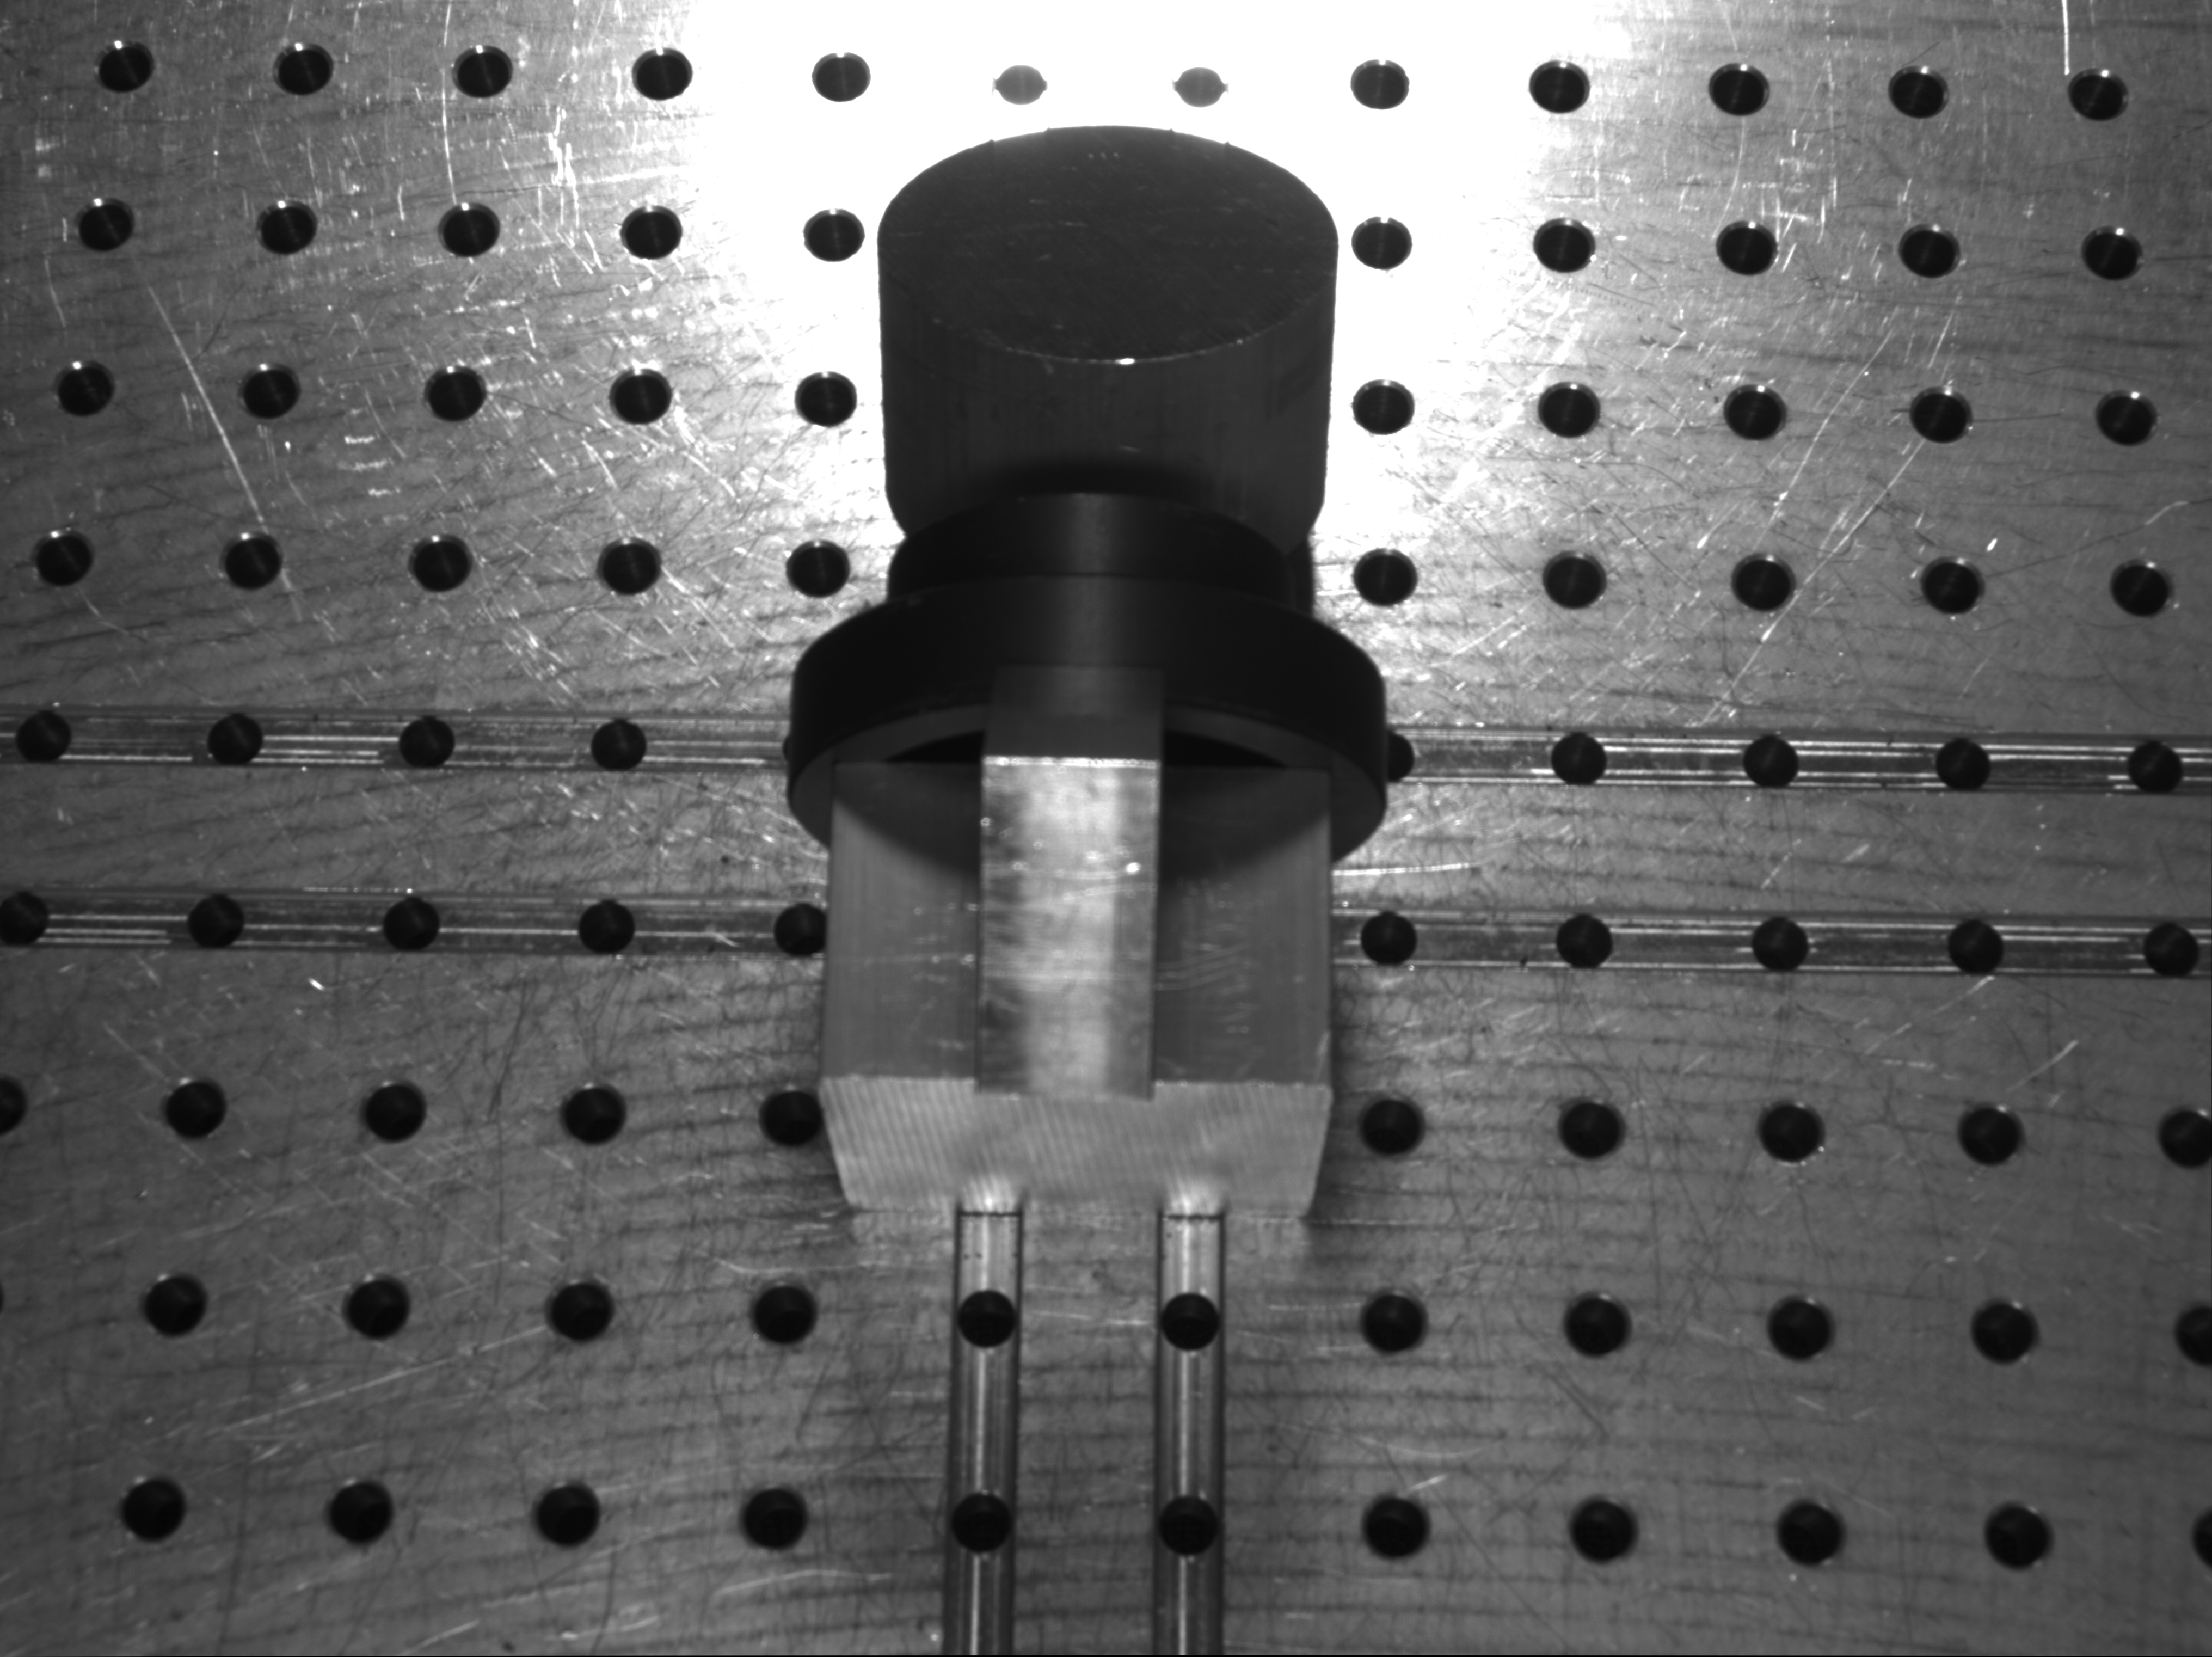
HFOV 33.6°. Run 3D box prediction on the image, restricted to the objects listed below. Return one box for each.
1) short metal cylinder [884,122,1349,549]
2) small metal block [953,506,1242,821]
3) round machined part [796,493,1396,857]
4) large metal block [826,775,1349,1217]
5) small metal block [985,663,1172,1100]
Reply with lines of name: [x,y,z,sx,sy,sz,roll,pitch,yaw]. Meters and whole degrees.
short metal cylinder: [0.002,-0.083,0.647,0.080,0.050,0.080,1,40,0]
small metal block: [-0.001,-0.030,0.657,0.050,0.025,0.050,1,70,0]
round machined part: [-0.001,-0.022,0.605,0.098,0.098,0.042,1,70,0]
large metal block: [-0.002,0.029,0.606,0.080,0.080,0.050,1,70,0]
small metal block: [-0.004,0.007,0.535,0.025,0.050,0.050,1,108,0]
